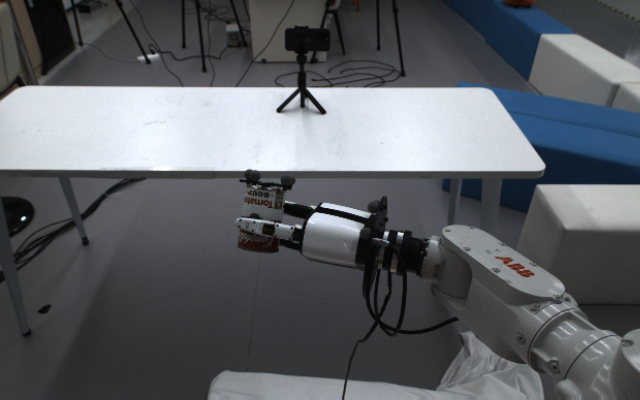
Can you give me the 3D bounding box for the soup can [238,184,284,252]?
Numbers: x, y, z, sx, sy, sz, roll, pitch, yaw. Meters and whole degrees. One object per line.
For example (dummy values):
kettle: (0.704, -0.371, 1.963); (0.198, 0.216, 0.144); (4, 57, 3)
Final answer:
soup can: (-0.093, 0.030, 0.777); (0.067, 0.101, 0.067); (7, 3, 0)
